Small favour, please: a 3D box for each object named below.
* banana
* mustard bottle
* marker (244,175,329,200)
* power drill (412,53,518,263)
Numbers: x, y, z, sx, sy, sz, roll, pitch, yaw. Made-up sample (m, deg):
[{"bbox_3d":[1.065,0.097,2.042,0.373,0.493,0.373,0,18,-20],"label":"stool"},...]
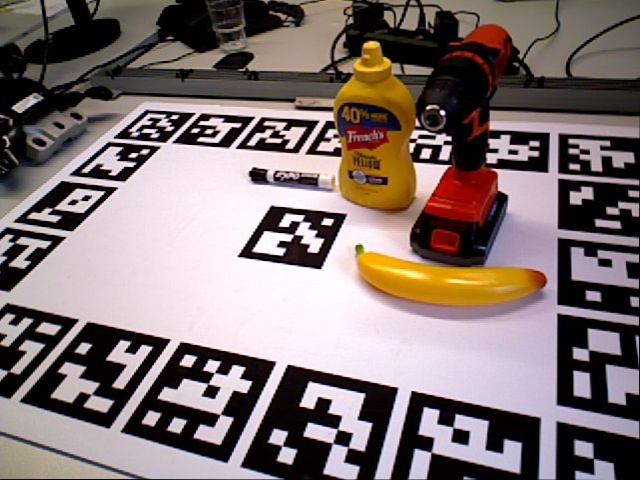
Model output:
[{"bbox_3d":[0.110,0.056,0.553,0.198,0.039,0.072,13,47,25],"label":"banana"},{"bbox_3d":[0.060,-0.115,0.632,0.096,0.195,0.057,18,47,25],"label":"mustard bottle"},{"bbox_3d":[-0.048,-0.072,0.736,0.121,0.020,0.019,9,45,20],"label":"marker"},{"bbox_3d":[0.138,-0.072,0.544,0.057,0.191,0.180,20,46,26],"label":"power drill"}]
